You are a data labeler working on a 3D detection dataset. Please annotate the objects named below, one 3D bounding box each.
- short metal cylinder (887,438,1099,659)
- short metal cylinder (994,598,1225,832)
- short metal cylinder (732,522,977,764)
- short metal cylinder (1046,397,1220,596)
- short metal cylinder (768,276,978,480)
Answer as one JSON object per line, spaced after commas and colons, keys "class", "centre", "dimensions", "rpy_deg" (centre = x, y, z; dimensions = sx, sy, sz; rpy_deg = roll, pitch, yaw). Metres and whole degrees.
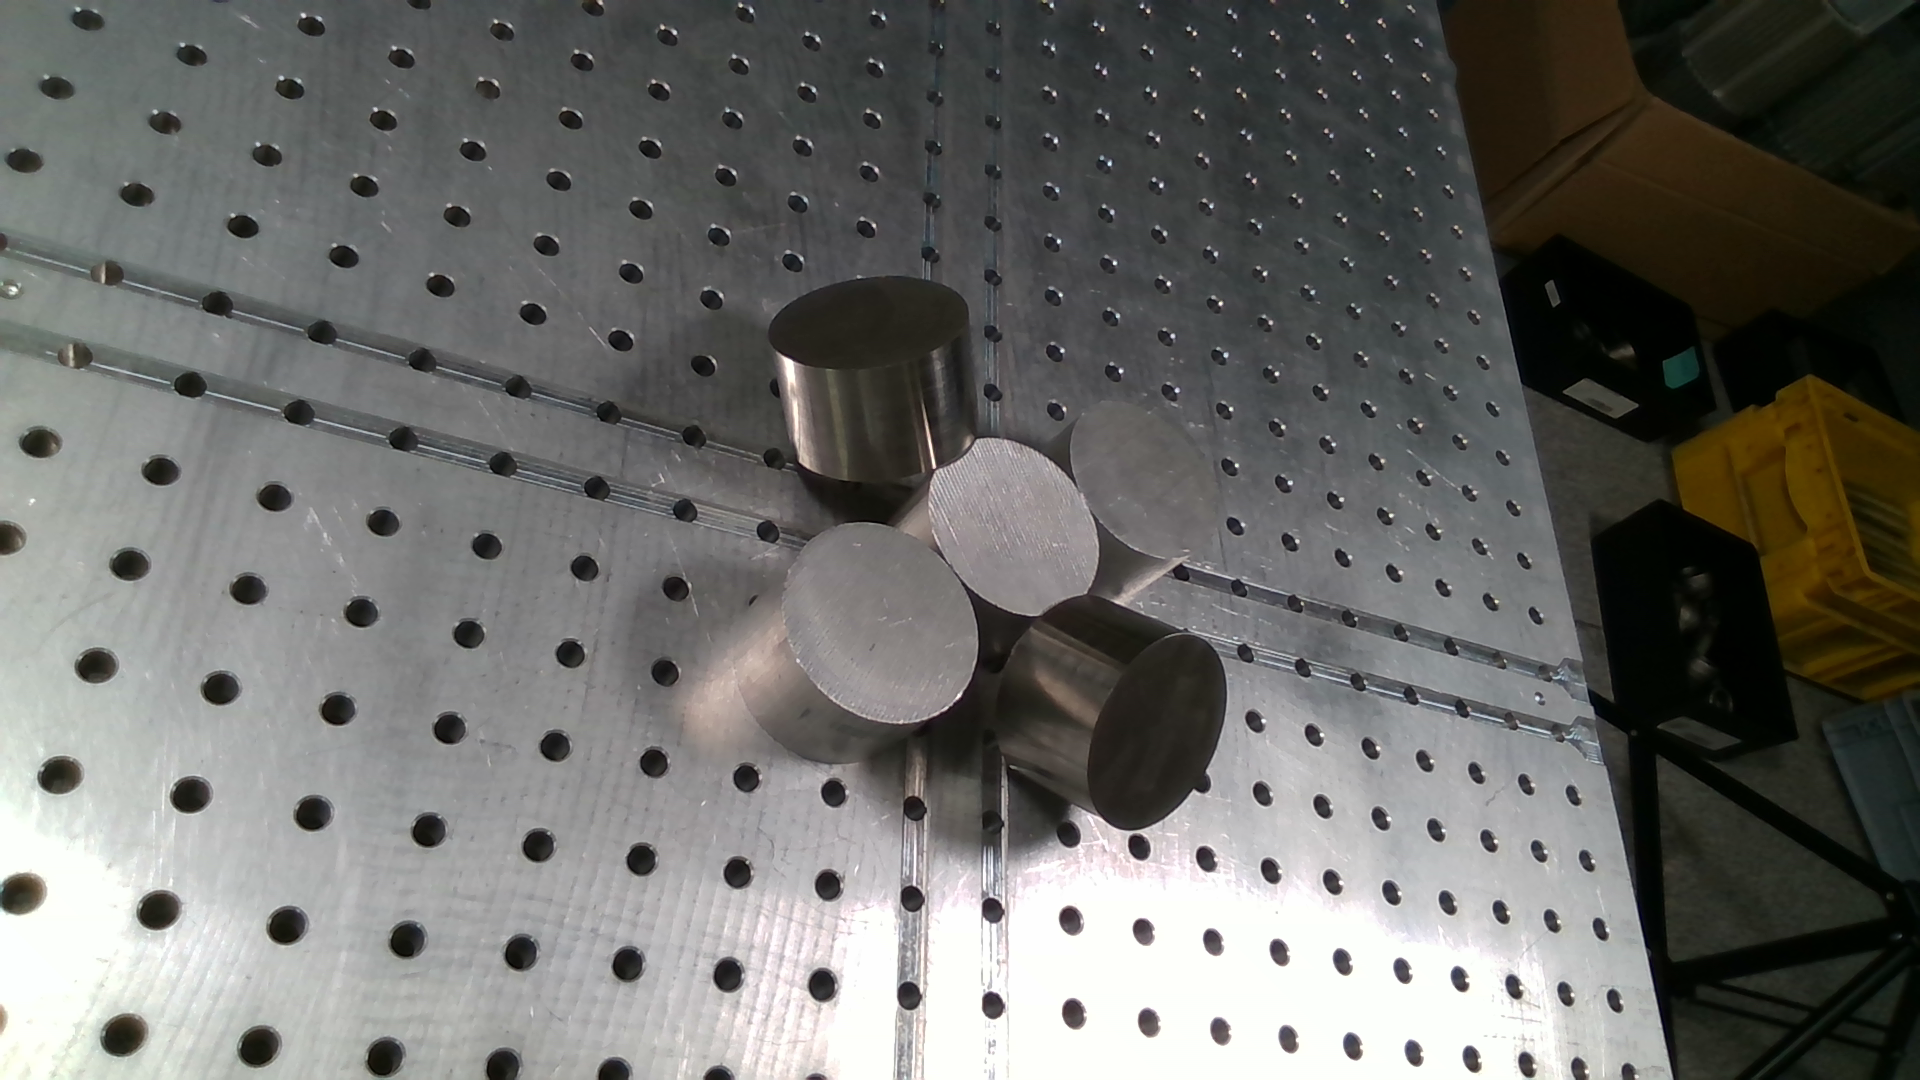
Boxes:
{"class": "short metal cylinder", "centre": [0.011, 0.005, 0.577], "dimensions": [0.080, 0.050, 0.080], "rpy_deg": [14, 59, -25]}
{"class": "short metal cylinder", "centre": [0.060, 0.068, 0.547], "dimensions": [0.080, 0.050, 0.080], "rpy_deg": [-17, 116, -38]}
{"class": "short metal cylinder", "centre": [-0.040, 0.040, 0.526], "dimensions": [0.080, 0.050, 0.080], "rpy_deg": [14, 59, -25]}
{"class": "short metal cylinder", "centre": [0.071, -0.017, 0.626], "dimensions": [0.080, 0.050, 0.080], "rpy_deg": [14, 59, -25]}
{"class": "short metal cylinder", "centre": [-0.034, -0.067, 0.561], "dimensions": [0.080, 0.050, 0.080], "rpy_deg": [-4, 36, 3]}
